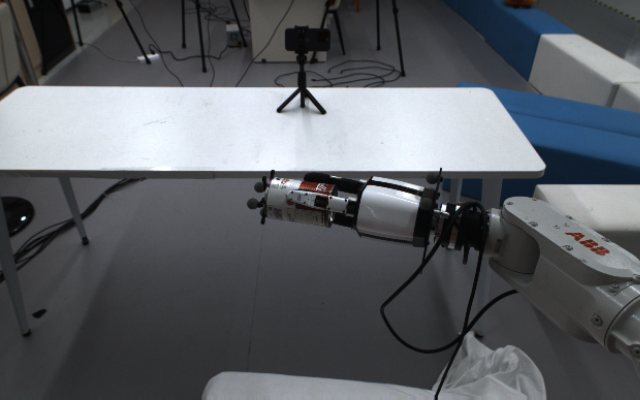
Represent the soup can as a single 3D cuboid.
[{"bbox_3d":[-0.028,0.003,0.755,0.101,0.067,0.067,7,35,11],"label":"soup can"}]
